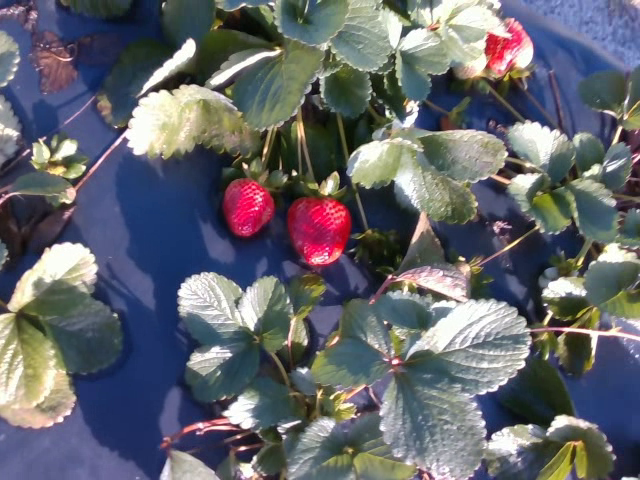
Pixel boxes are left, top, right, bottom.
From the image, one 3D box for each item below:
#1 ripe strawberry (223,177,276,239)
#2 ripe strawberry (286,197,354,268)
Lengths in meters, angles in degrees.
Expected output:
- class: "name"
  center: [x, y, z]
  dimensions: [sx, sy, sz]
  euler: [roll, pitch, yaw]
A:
- class: "ripe strawberry"
  center: [-0.053, -0.020, 0.426]
  dimensions: [0.043, 0.052, 0.037]
  euler: [-13, -33, 14]
- class: "ripe strawberry"
  center: [0.000, -0.003, 0.432]
  dimensions: [0.052, 0.058, 0.046]
  euler: [-4, -34, 11]
